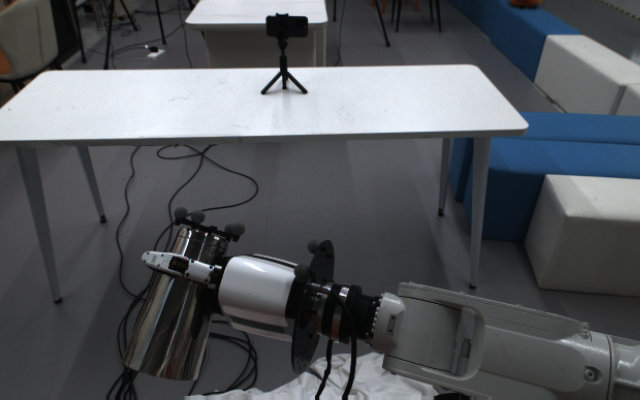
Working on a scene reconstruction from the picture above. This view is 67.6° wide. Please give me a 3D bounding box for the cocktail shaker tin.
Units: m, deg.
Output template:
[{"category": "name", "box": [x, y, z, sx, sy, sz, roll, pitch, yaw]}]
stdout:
[{"category": "cocktail shaker tin", "box": [-0.168, 0.123, 0.603, 0.093, 0.093, 0.170, 12, 77, 15]}]
